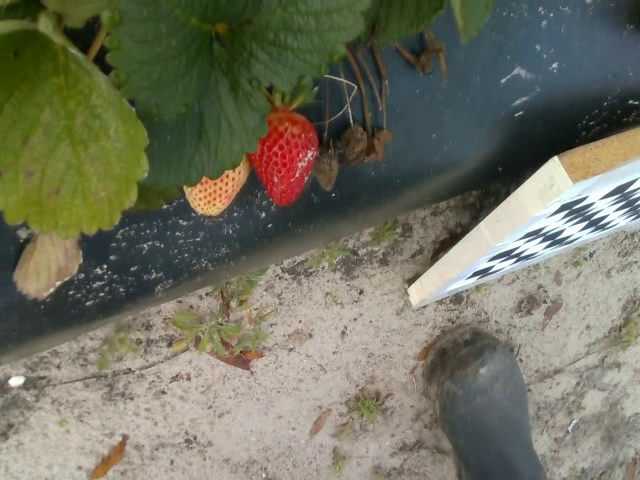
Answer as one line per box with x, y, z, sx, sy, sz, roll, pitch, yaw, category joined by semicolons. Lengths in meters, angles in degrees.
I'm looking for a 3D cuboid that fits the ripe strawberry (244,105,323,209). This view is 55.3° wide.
-0.015;-0.031;0.238;0.033;0.042;0.034;2;4;44;ripe strawberry
